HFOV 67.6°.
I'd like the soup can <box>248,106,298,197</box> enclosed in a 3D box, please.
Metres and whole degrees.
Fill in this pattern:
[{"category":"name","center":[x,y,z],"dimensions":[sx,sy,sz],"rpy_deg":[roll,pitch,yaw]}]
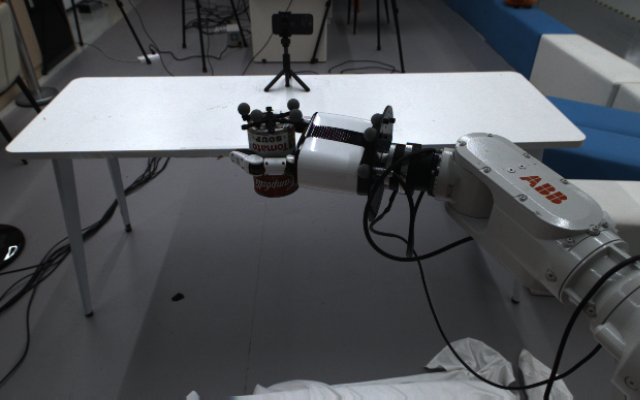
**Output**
[{"category":"soup can","center":[-0.065,-0.064,0.691],"dimensions":[0.067,0.101,0.067],"rpy_deg":[-2,33,1]}]
